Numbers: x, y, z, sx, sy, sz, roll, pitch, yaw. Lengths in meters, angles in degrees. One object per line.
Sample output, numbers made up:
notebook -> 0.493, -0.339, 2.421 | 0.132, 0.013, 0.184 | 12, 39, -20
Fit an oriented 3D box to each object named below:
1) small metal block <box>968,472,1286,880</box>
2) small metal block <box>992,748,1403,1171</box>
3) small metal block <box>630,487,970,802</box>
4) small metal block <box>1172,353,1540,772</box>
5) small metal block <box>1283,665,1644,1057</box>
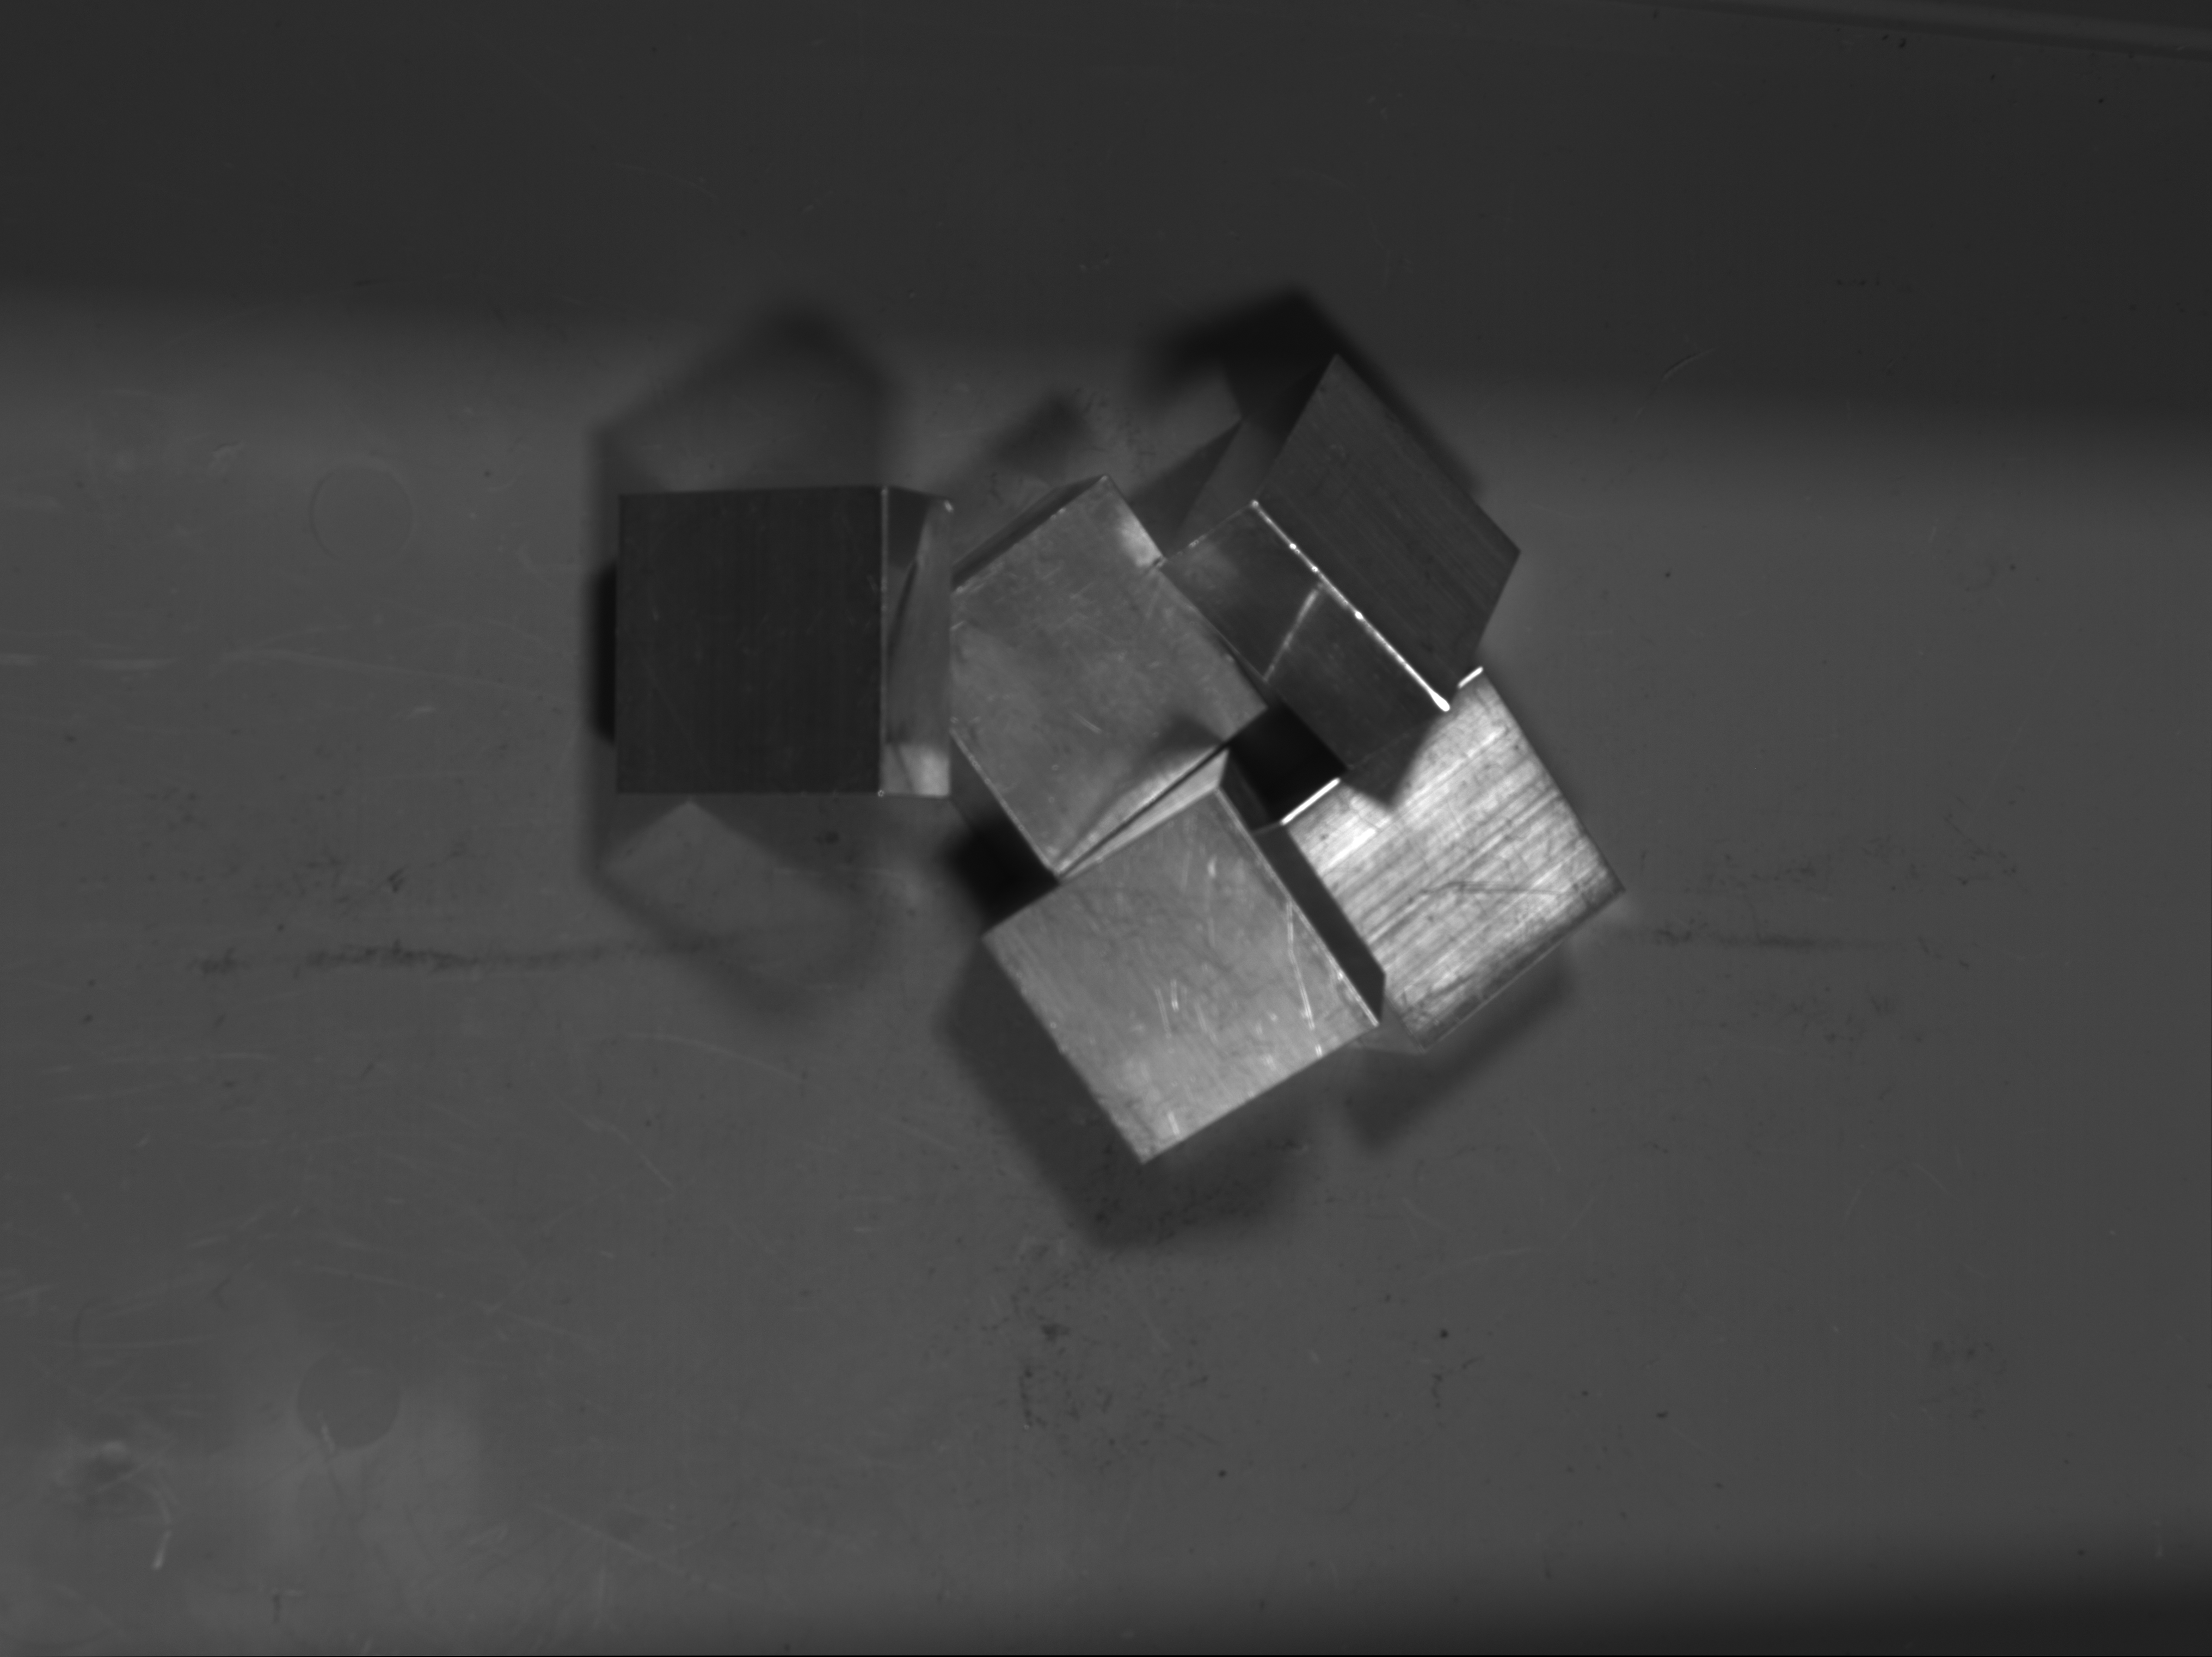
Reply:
small metal block -> -0.006, -0.026, 0.640 | 0.050, 0.025, 0.050 | -39, 102, -16
small metal block -> 0.016, 0.023, 0.636 | 0.050, 0.025, 0.050 | -32, 102, 15
small metal block -> -0.051, -0.030, 0.609 | 0.050, 0.025, 0.050 | 0, 89, 24
small metal block -> 0.045, -0.047, 0.646 | 0.050, 0.025, 0.050 | 45, 41, -14
small metal block -> 0.061, 0.006, 0.664 | 0.050, 0.025, 0.050 | -37, 102, -16
